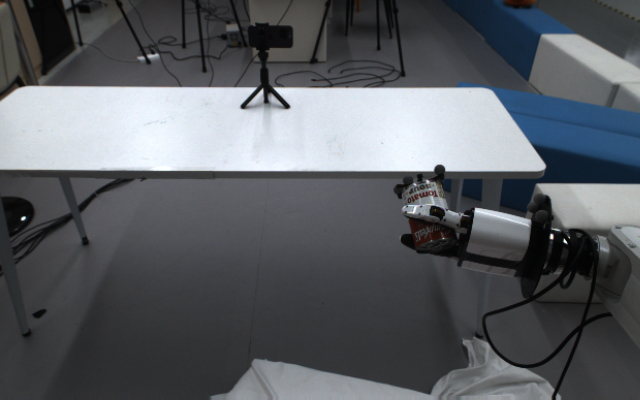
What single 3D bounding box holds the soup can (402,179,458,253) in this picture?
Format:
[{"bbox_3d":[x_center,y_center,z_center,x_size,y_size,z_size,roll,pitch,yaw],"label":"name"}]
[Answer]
[{"bbox_3d":[0.177,0.026,0.774,0.067,0.067,0.101,-8,68,-14],"label":"soup can"}]
